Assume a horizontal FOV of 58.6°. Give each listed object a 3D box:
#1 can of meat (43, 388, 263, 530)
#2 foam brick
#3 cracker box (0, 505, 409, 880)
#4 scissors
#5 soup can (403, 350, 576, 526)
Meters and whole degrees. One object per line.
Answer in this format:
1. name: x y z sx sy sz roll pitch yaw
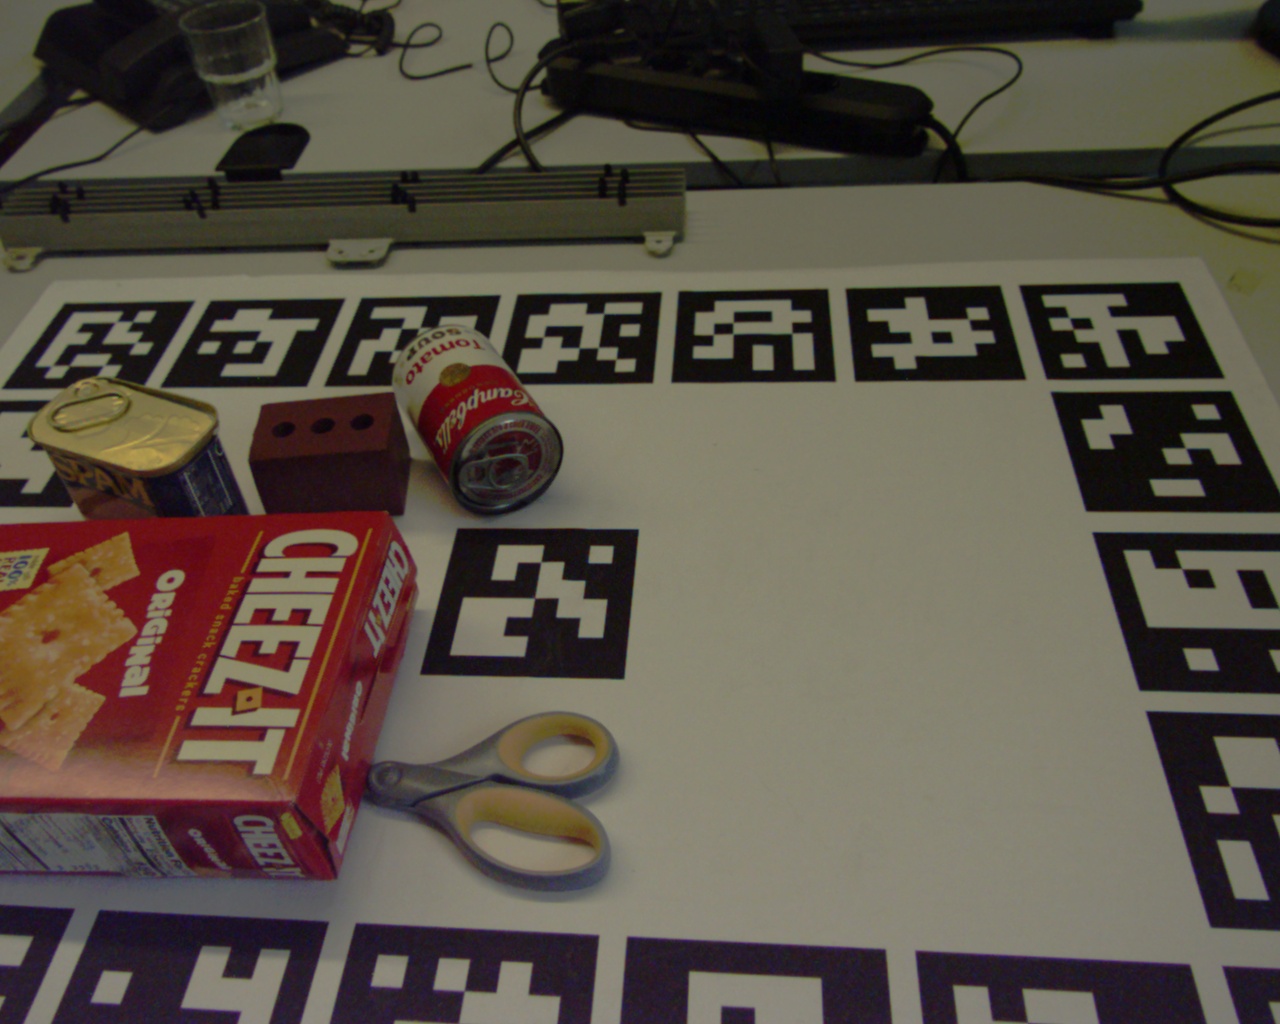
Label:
1. can of meat: -0.274 -0.017 0.655 0.102 0.083 0.057 11 50 15
2. foam brick: -0.176 -0.027 0.679 0.078 0.051 0.053 -7 47 -1
3. cracker box: -0.232 0.082 0.548 0.214 0.071 0.165 -6 46 6
4. scissors: -0.117 0.130 0.534 0.203 0.016 0.088 -3 47 3
5. soup can: -0.093 -0.047 0.688 0.067 0.067 0.103 -28 45 -19
